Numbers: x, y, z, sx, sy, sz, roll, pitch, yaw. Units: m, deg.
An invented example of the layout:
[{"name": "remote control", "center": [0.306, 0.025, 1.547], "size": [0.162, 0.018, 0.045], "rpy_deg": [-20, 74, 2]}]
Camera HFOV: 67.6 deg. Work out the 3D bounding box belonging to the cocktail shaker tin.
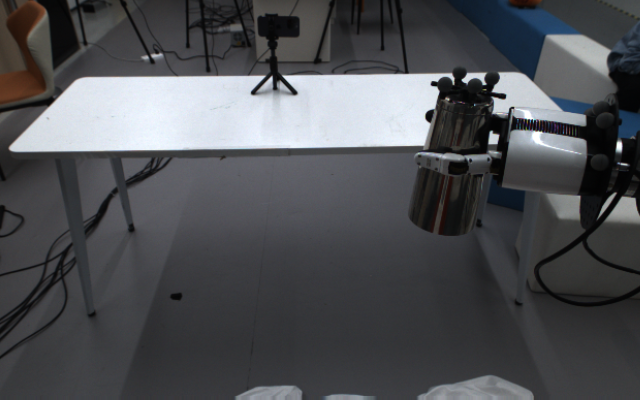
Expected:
[{"name": "cocktail shaker tin", "center": [0.174, -0.051, 0.623], "size": [0.093, 0.170, 0.093], "rpy_deg": [3, 30, -1]}]
